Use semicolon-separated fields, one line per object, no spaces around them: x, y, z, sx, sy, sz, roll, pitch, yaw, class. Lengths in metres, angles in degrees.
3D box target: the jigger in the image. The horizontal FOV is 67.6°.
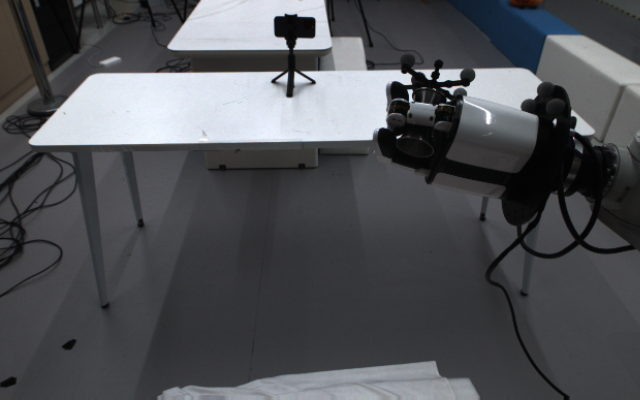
0.119;-0.088;0.554;0.043;0.043;0.071;13;72;15;jigger
